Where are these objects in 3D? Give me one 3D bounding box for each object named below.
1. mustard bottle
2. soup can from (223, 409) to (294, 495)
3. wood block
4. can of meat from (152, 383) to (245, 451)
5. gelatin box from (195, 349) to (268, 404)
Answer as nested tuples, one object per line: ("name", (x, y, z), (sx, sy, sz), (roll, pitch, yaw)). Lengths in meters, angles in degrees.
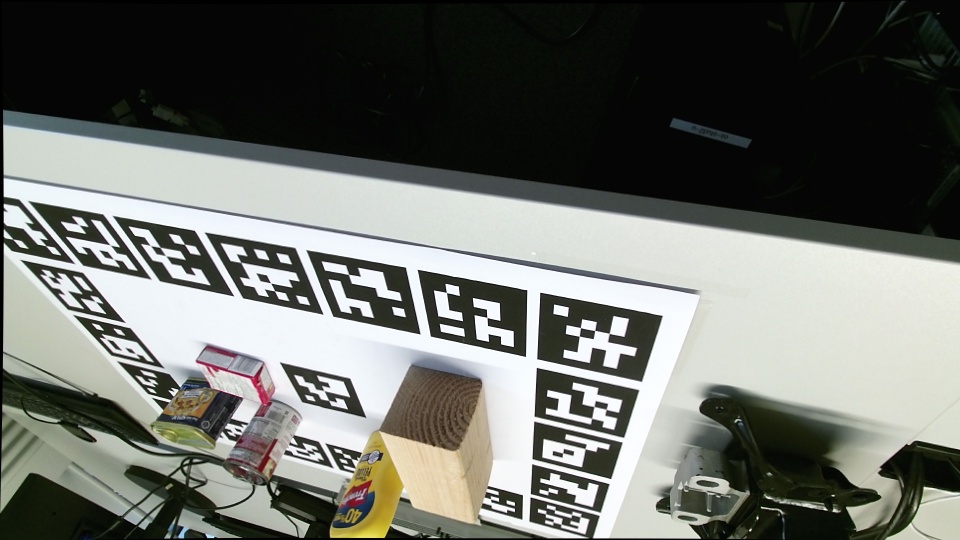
("mustard bottle", (-0.149, 0.311, 0.710), (0.096, 0.191, 0.058), (-10, 129, 32))
("soup can", (-0.327, 0.264, 0.781), (0.068, 0.101, 0.068), (11, 134, 11))
("wood block", (-0.047, 0.220, 0.645), (0.091, 0.089, 0.206), (11, 140, 14))
("can of meat", (-0.417, 0.219, 0.800), (0.102, 0.083, 0.058), (0, 132, 25))
("gelatin box", (-0.342, 0.150, 0.731), (0.089, 0.030, 0.073), (15, 135, 4))
